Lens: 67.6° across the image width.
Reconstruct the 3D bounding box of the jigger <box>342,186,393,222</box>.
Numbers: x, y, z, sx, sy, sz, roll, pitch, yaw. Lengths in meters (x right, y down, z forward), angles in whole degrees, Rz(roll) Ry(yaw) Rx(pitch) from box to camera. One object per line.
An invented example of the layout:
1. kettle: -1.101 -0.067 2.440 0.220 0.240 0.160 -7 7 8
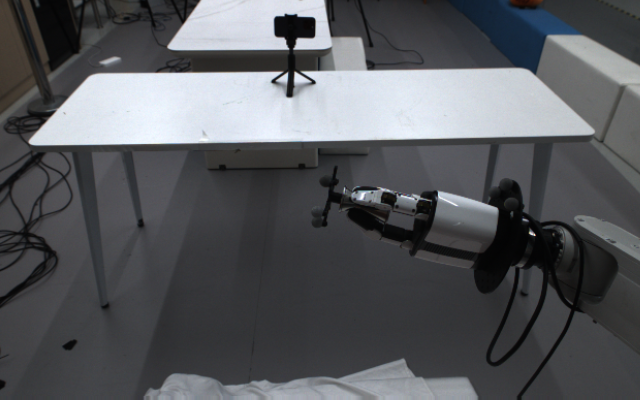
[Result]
1. jigger: 0.070 0.003 0.677 0.071 0.043 0.043 13 36 4
